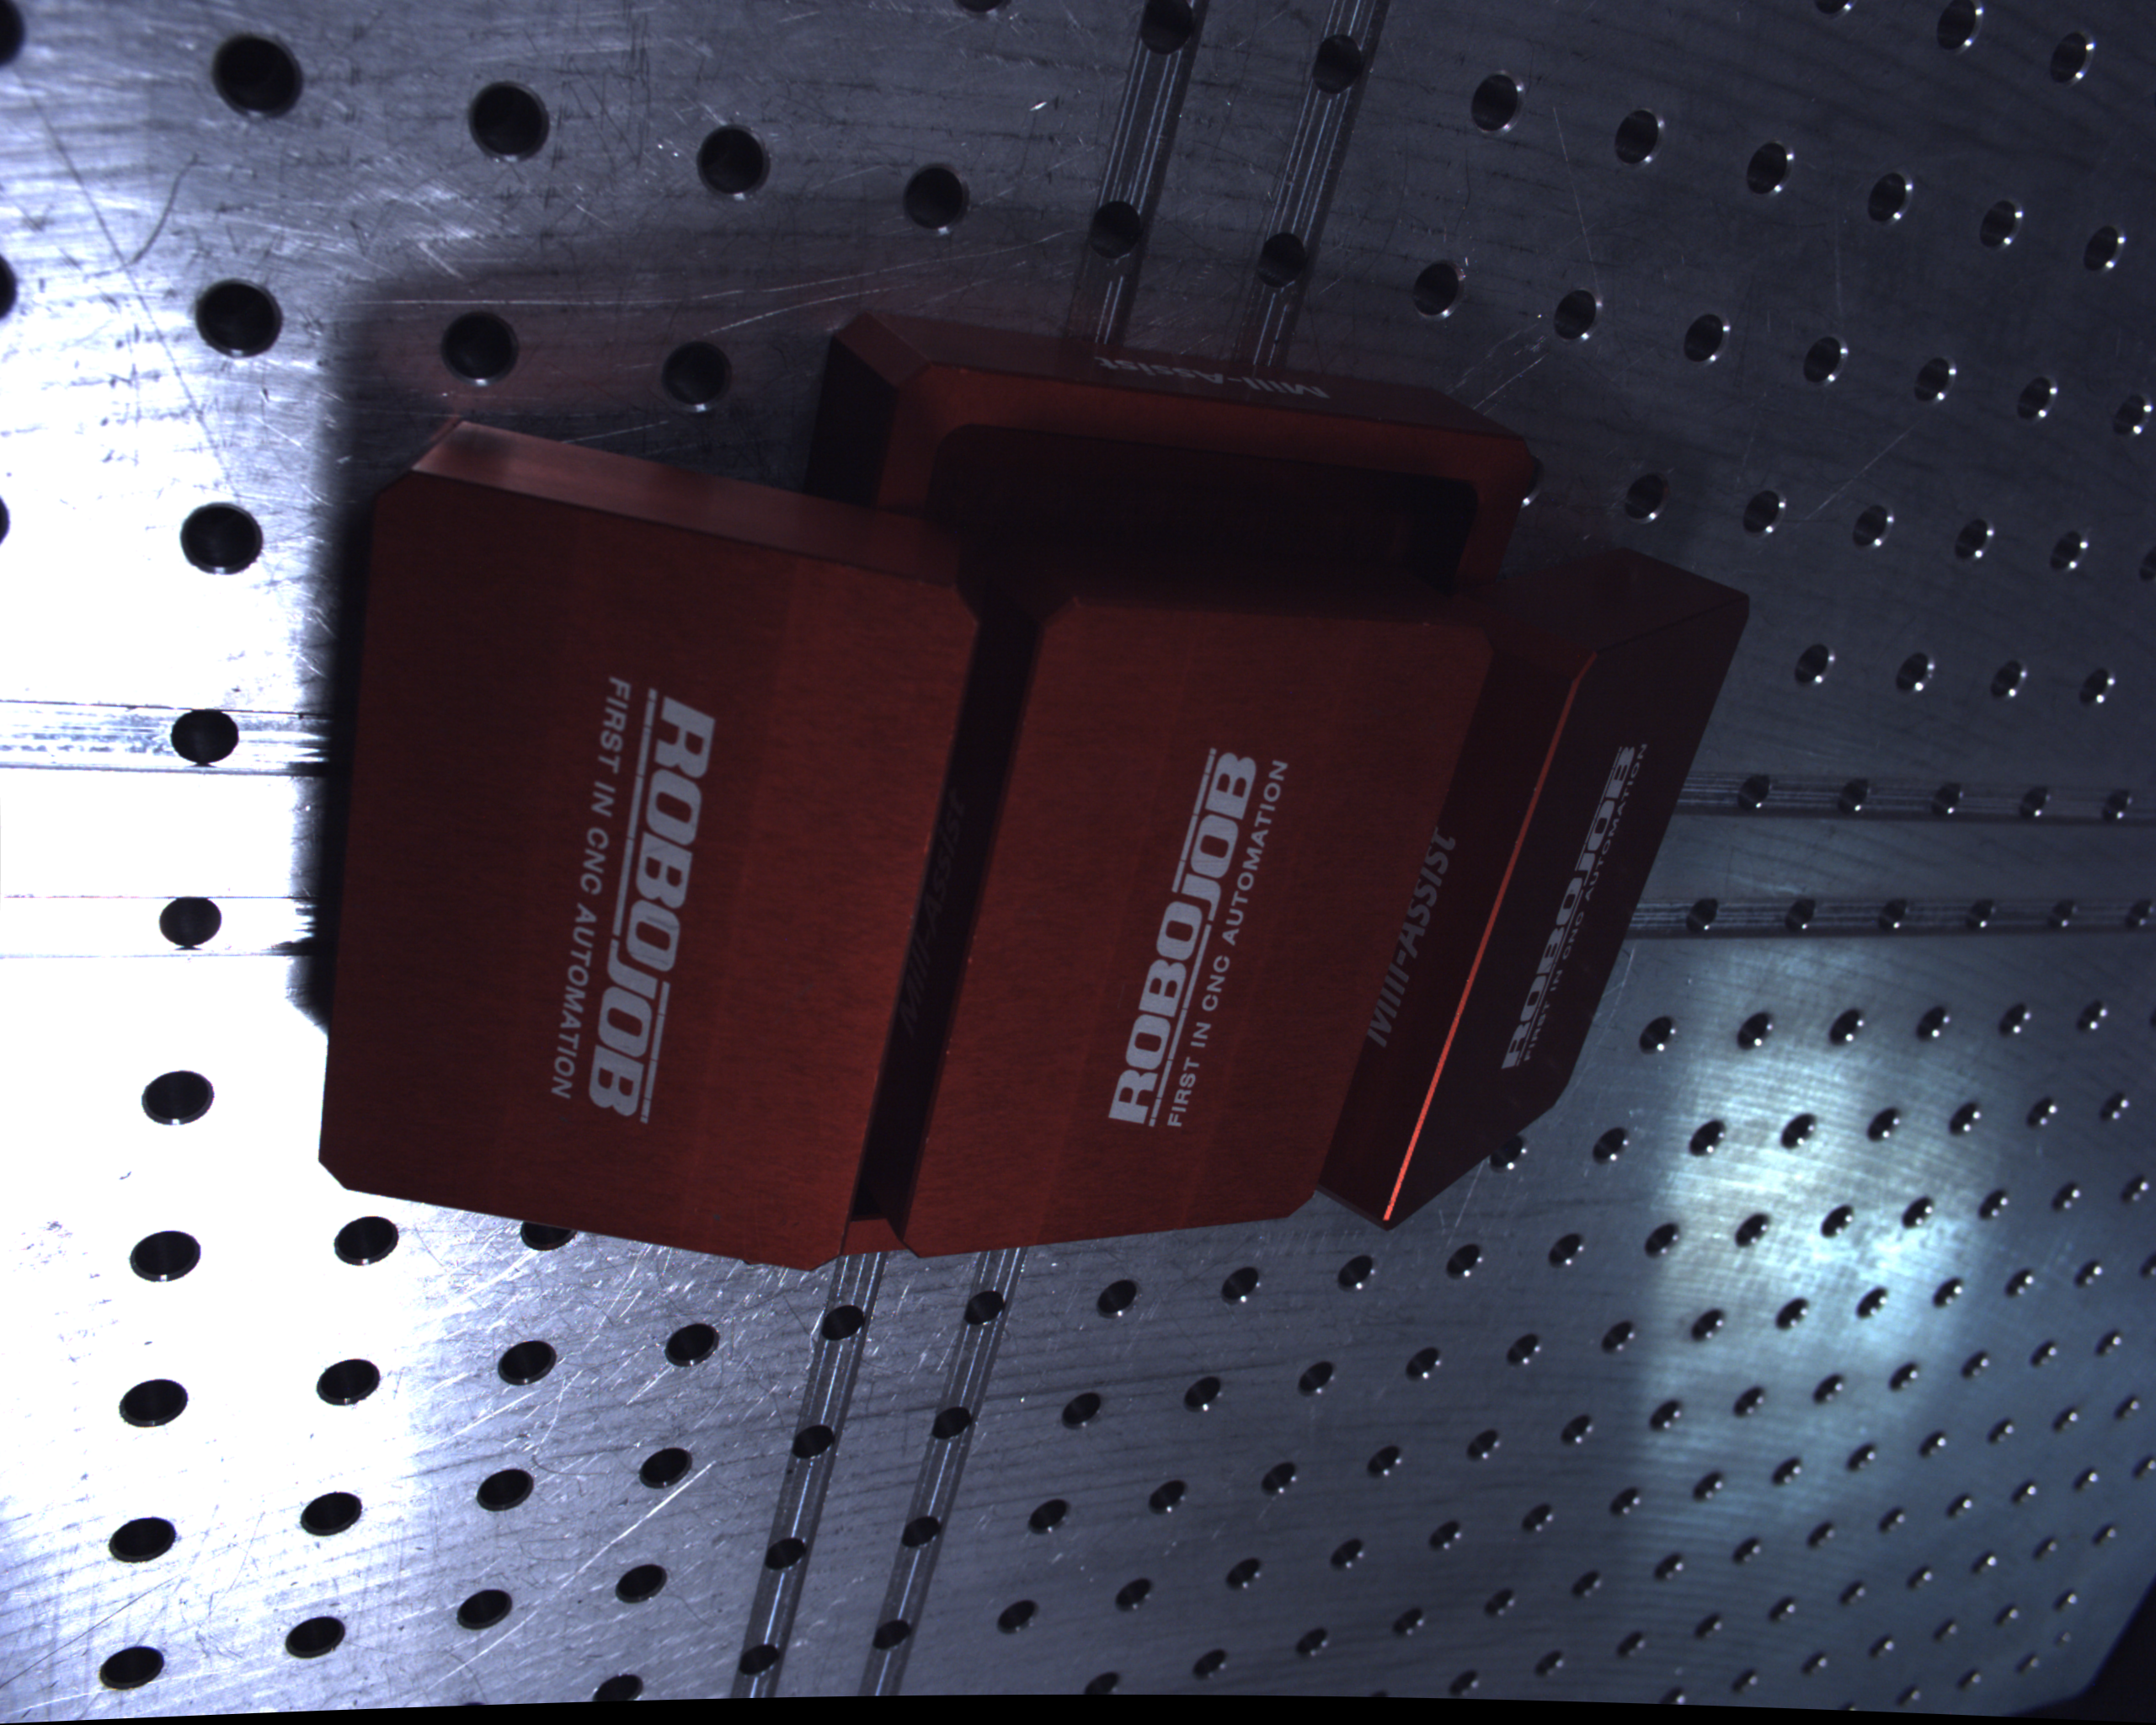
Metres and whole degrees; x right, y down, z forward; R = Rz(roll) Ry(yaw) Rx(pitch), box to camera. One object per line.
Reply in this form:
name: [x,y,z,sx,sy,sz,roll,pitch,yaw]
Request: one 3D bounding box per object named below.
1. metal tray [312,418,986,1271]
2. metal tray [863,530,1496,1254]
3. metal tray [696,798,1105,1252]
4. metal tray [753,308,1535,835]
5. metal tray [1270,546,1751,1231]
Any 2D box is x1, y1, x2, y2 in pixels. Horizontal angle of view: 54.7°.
metal tray: [-0.073,0.001,0.347,0.091,0.030,0.129,12,115,-6]
metal tray: [0.015,0.008,0.383,0.091,0.030,0.129,-1,119,-29]
metal tray: [-0.007,0.032,0.426,0.131,0.030,0.089,0,119,-29]
metal tray: [0.013,-0.047,0.387,0.131,0.030,0.089,0,119,-29]
metal tray: [0.091,0.004,0.438,0.091,0.030,0.129,-21,132,-51]
